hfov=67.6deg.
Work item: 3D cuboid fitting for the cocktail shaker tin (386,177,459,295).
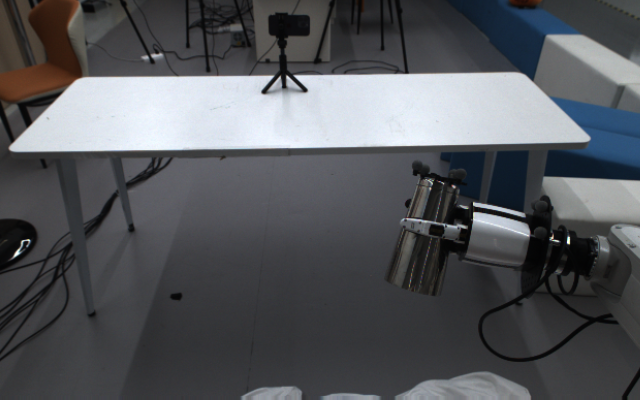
[{"bbox_3d":[0.166,0.054,0.768,0.093,0.170,0.093,14,2,-1],"label":"cocktail shaker tin"}]
